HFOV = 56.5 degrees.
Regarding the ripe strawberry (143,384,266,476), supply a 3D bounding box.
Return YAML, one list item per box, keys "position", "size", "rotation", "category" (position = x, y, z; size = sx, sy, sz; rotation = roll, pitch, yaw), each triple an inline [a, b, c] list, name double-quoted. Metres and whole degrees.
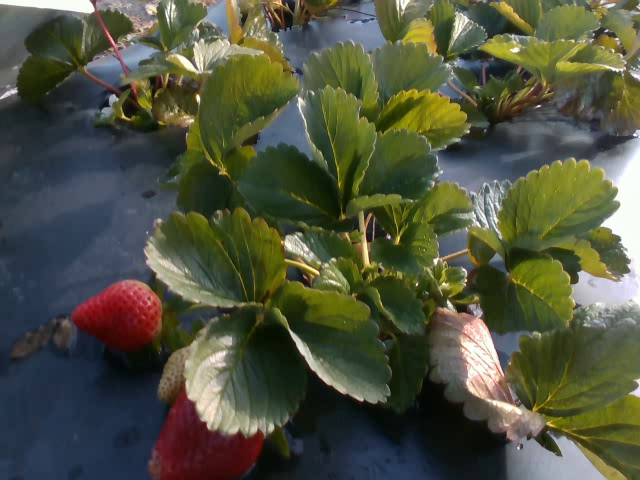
- position: [-0.060, 0.091, 0.282]
  size: [0.064, 0.050, 0.048]
  rotation: [-40, 13, -32]
  category: "ripe strawberry"
